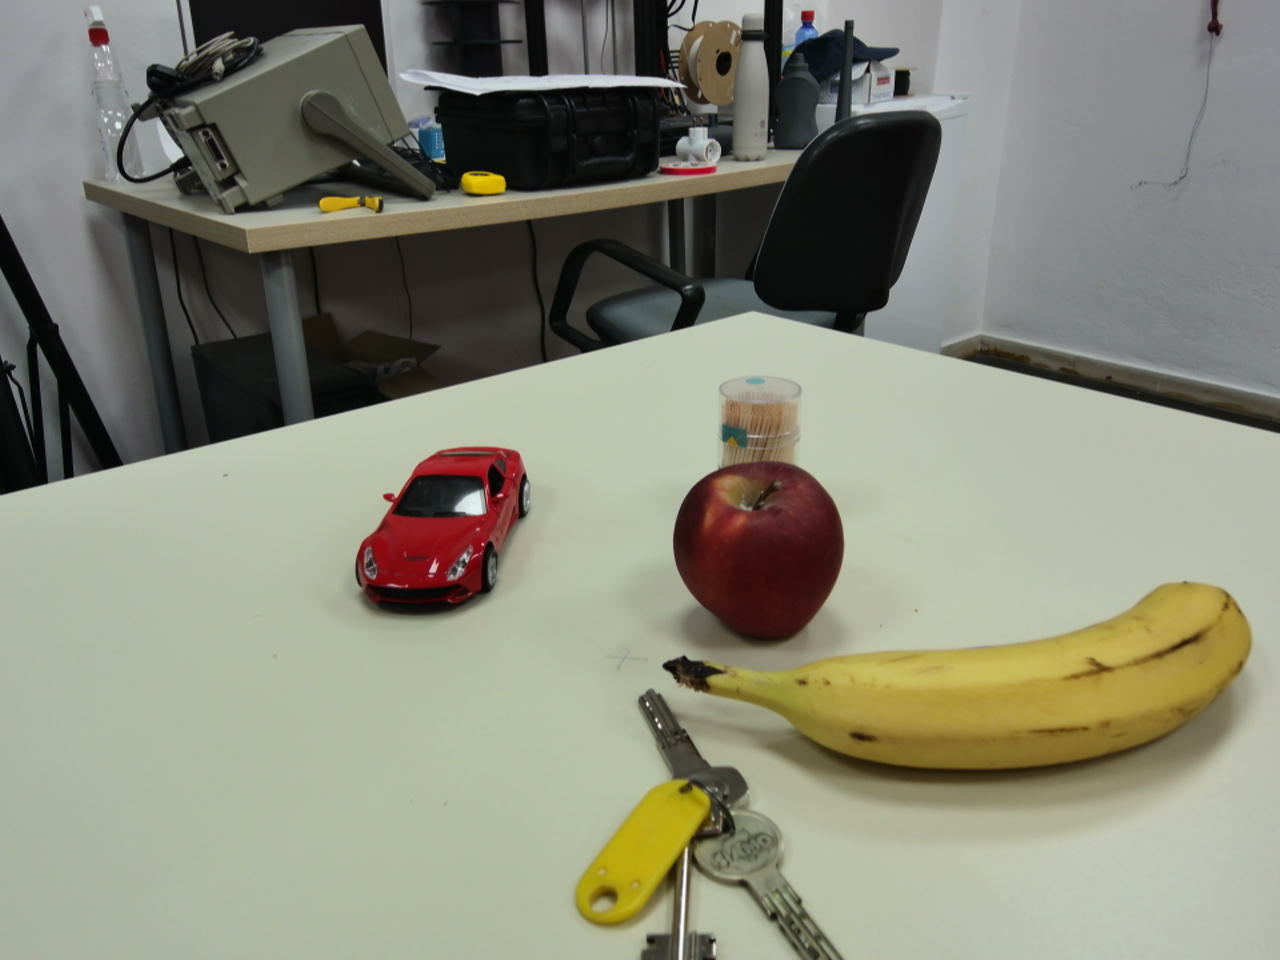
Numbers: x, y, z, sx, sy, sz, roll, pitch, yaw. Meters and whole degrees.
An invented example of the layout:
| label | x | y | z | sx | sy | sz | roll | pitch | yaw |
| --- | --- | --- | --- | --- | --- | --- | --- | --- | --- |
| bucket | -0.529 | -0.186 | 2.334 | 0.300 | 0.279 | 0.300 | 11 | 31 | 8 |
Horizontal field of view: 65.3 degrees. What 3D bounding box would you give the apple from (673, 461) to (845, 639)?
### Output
| label | x | y | z | sx | sy | sz | roll | pitch | yaw |
| --- | --- | --- | --- | --- | --- | --- | --- | --- | --- |
| apple | 0.049 | 0.027 | 0.407 | 0.070 | 0.072 | 0.070 | 0 | 22 | 0 |
